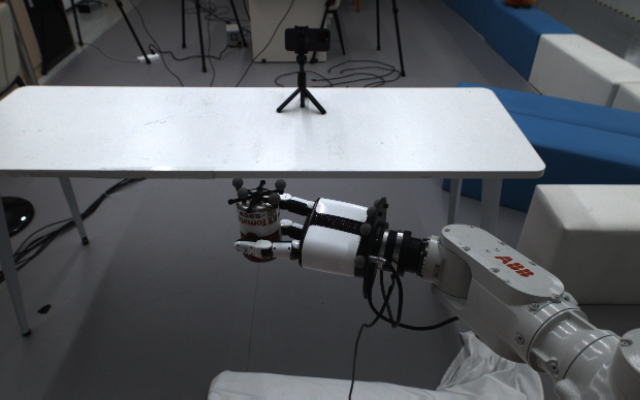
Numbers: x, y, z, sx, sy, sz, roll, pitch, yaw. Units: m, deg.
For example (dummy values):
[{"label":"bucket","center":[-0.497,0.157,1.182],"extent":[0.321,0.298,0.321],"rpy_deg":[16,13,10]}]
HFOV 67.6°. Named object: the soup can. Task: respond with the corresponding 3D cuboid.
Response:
[{"label":"soup can","center":[-0.095,0.041,0.775],"extent":[0.067,0.101,0.067],"rpy_deg":[-2,33,1]}]
